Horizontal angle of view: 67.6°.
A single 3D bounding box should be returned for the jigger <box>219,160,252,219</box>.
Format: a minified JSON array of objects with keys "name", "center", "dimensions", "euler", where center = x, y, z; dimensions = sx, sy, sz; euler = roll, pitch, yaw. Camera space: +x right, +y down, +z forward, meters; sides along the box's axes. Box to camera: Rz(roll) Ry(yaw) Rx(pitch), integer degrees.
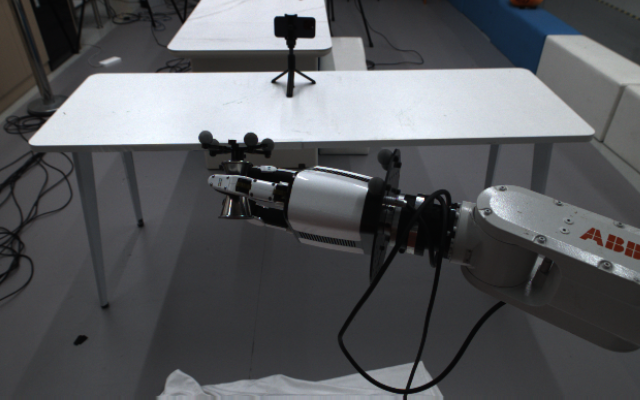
[{"name":"jigger","center":[-0.105,-0.013,0.592],"dimensions":[0.043,0.071,0.043],"euler":[0,-5,0]}]
